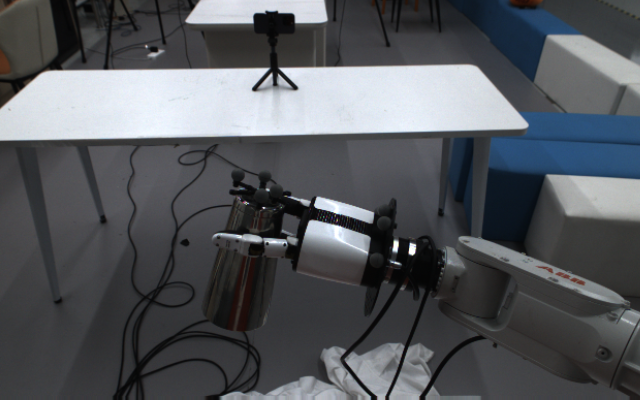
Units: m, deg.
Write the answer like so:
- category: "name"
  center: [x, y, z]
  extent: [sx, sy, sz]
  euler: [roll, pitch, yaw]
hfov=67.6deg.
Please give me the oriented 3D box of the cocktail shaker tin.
- category: "cocktail shaker tin"
  center: [-0.095, 0.075, 0.647]
  extent: [0.093, 0.170, 0.093]
  euler: [14, 19, -5]
